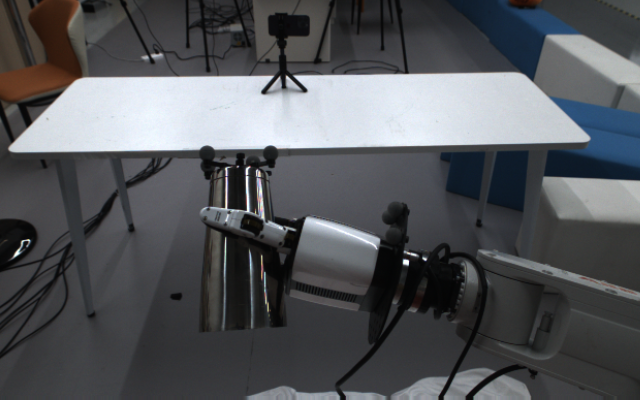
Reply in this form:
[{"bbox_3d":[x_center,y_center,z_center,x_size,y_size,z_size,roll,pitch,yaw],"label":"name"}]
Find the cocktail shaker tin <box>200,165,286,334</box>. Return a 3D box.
[{"bbox_3d":[-0.085,0.055,0.528,0.093,0.093,0.170,-3,76,-7],"label":"cocktail shaker tin"}]
